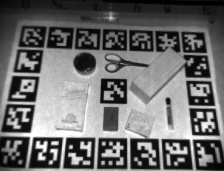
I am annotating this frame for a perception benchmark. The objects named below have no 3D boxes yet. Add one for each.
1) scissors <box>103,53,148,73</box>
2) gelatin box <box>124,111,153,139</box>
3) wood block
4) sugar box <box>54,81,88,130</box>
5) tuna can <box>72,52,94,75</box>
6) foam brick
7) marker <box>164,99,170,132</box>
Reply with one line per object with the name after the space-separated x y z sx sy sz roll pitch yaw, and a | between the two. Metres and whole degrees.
0.060 -0.081 0.870 0.202 0.016 0.087 9 72 3 | scissors
0.095 0.144 0.789 0.089 0.030 0.073 21 73 5 | gelatin box
0.174 -0.028 0.820 0.207 0.091 0.089 -42 76 -14 | wood block
-0.147 0.074 0.798 0.093 0.045 0.176 7 72 0 | sugar box
-0.113 -0.085 0.852 0.086 0.034 0.085 1 72 -1 | tuna can
-0.008 0.126 0.776 0.053 0.051 0.078 4 72 1 | foam brick
0.206 0.112 0.807 0.019 0.020 0.121 4 74 0 | marker
